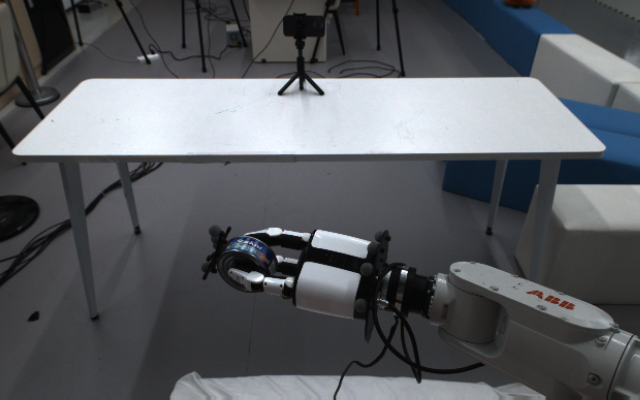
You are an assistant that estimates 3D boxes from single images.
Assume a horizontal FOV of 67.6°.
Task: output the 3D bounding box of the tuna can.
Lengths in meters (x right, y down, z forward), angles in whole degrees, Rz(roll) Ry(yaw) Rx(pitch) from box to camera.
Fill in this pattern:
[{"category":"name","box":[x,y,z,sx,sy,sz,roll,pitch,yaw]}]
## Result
[{"category":"tuna can","box":[-0.106,0.101,0.712,0.085,0.085,0.034,10,36,11]}]
